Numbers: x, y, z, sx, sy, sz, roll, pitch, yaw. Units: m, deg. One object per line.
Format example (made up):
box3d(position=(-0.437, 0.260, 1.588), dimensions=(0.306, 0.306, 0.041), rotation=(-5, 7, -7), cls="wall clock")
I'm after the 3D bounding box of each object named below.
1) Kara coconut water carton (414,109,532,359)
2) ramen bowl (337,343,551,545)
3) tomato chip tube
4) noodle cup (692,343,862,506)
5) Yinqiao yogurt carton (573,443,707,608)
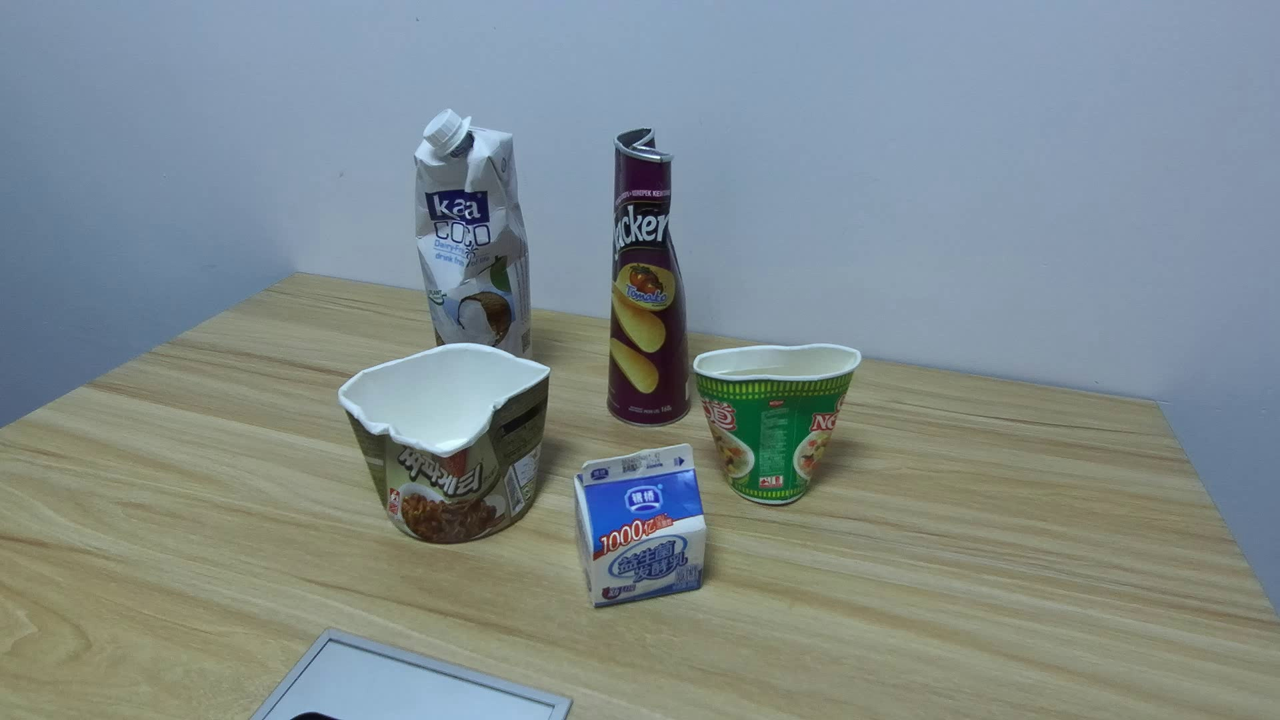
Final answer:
box3d(position=(-0.142, -0.085, 0.602), dimensions=(0.083, 0.256, 0.078), rotation=(13, 36, 17), cls="Kara coconut water carton")
box3d(position=(-0.144, 0.057, 0.517), dimensions=(0.133, 0.097, 0.114), rotation=(13, 34, 16), cls="ramen bowl")
box3d(position=(0.010, -0.062, 0.584), dimensions=(0.076, 0.235, 0.078), rotation=(22, 36, 33), cls="tomato chip tube")
box3d(position=(0.097, 0.044, 0.524), dimensions=(0.115, 0.111, 0.070), rotation=(7, 32, 12), cls="noodle cup")
box3d(position=(-0.002, 0.097, 0.458), dimensions=(0.076, 0.092, 0.073), rotation=(-7, 31, -11), cls="Yinqiao yogurt carton")
